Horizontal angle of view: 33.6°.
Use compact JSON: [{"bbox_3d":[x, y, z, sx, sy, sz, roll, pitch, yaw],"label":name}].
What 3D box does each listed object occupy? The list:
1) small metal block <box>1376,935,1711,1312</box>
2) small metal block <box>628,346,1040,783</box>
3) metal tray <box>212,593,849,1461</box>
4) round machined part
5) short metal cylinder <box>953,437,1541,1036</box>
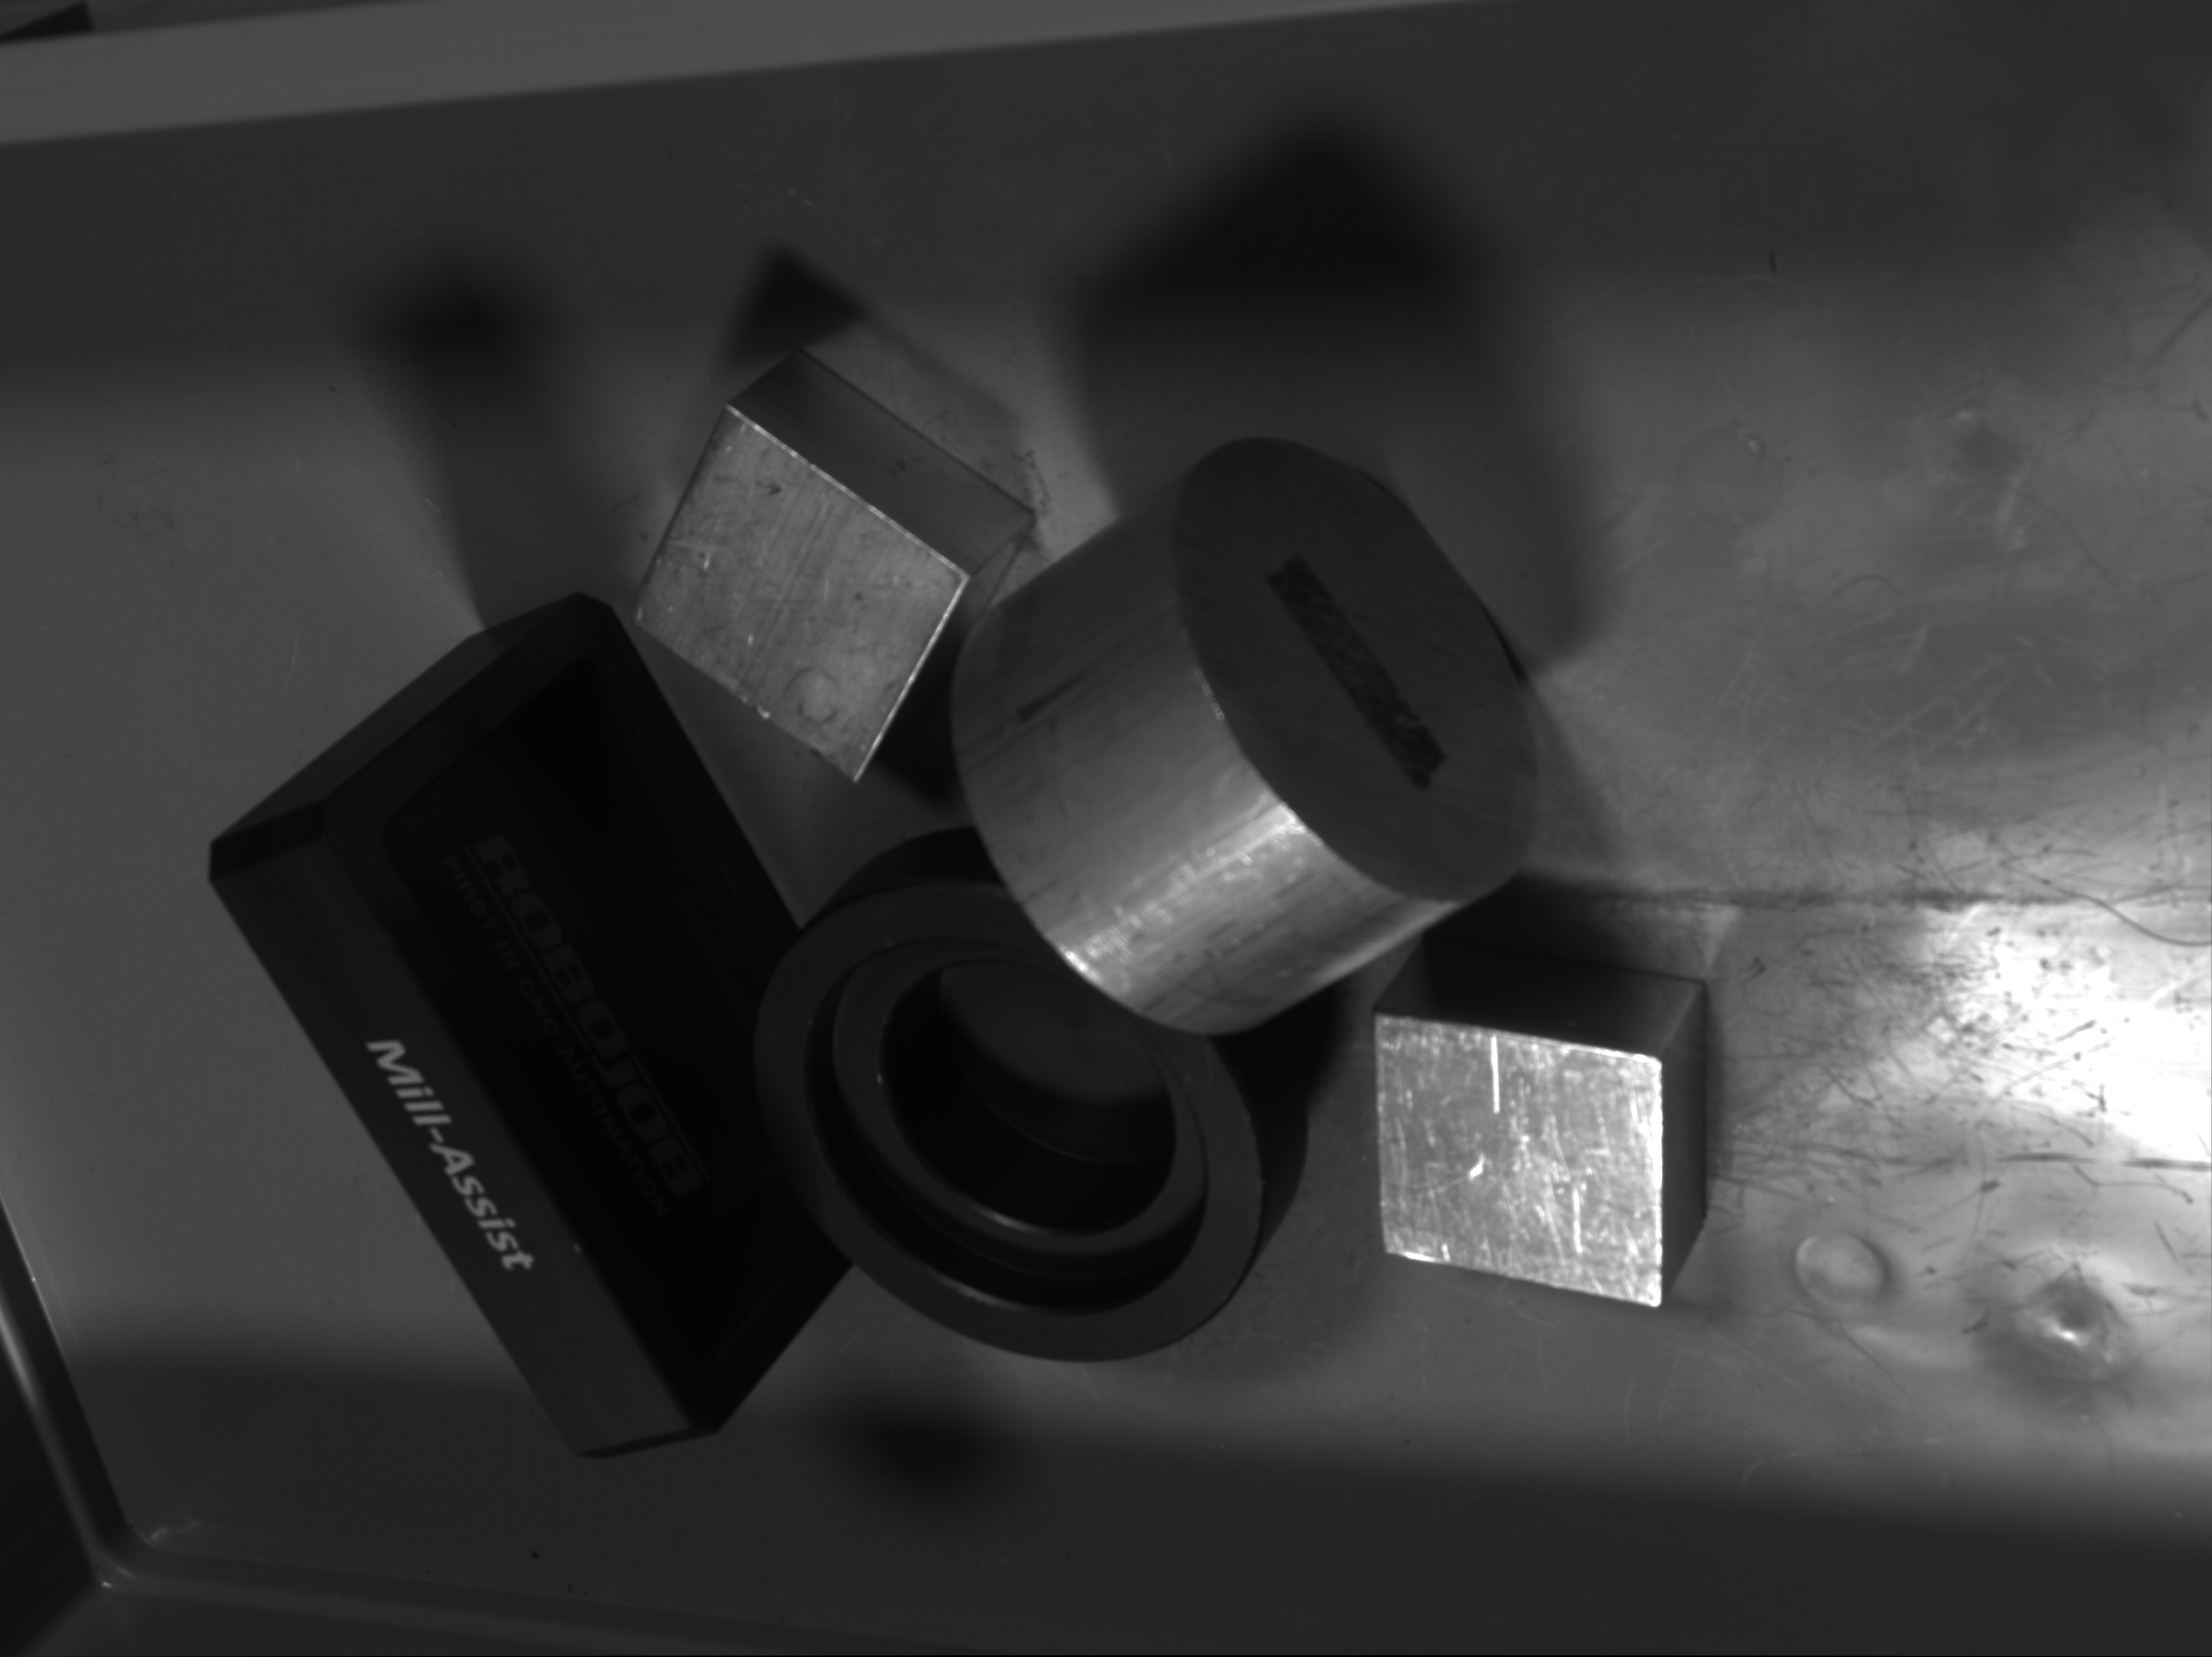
[{"bbox_3d":[0.074,0.050,0.622,0.050,0.025,0.050,10,122,23],"label":"small metal block"},{"bbox_3d":[-0.047,-0.045,0.626,0.050,0.025,0.050,36,129,5],"label":"small metal block"},{"bbox_3d":[-0.092,0.035,0.655,0.030,0.090,0.130,-18,109,34],"label":"metal tray"},{"bbox_3d":[-0.010,0.043,0.648,0.098,0.042,0.098,12,123,20],"label":"round machined part"},{"bbox_3d":[0.023,-0.014,0.575,0.050,0.080,0.080,-32,101,37],"label":"short metal cylinder"}]
